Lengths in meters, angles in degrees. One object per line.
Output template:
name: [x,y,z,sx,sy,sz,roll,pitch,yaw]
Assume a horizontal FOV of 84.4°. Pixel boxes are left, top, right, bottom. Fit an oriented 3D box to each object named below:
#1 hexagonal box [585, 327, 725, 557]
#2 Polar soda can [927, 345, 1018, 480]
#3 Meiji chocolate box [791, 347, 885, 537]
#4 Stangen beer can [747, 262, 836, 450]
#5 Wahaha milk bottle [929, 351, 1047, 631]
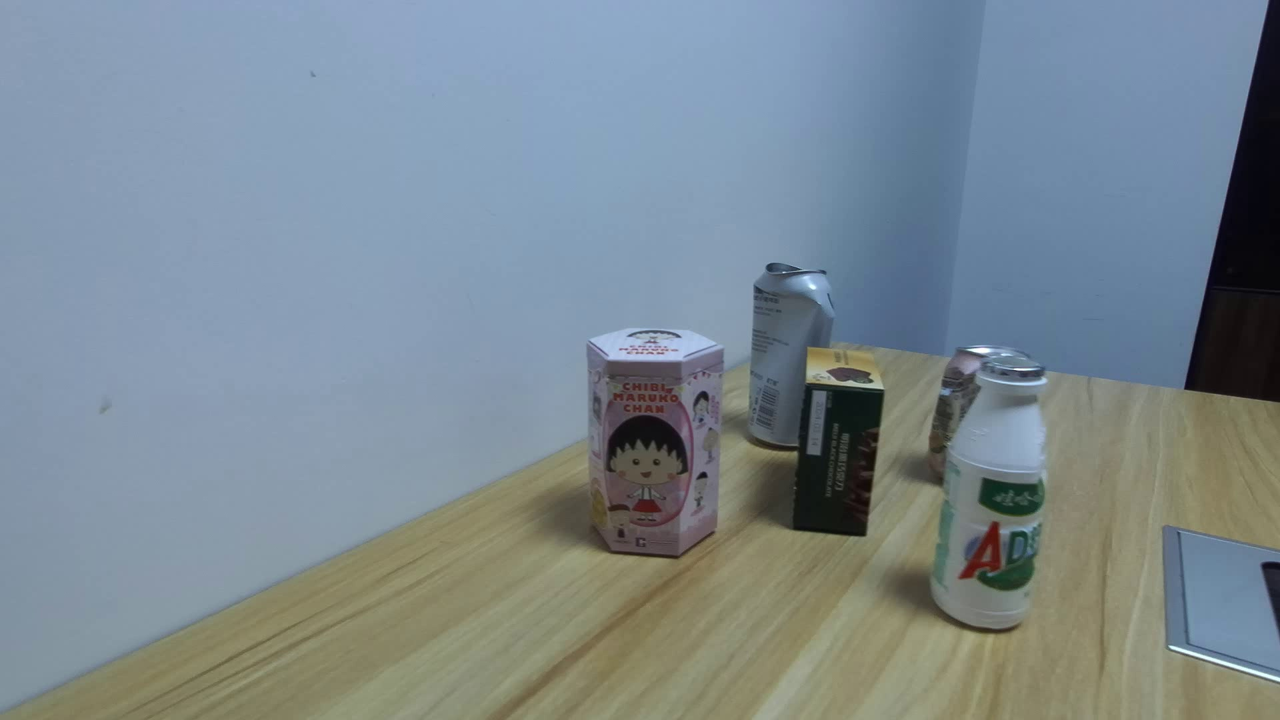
hexagonal box: [0.010,0.054,0.478,0.091,0.136,0.084,2,15,8]
Polar soda can: [0.277,0.046,0.571,0.070,0.114,0.074,12,19,24]
Meiji chocolate box: [0.144,0.056,0.525,0.056,0.109,0.110,5,16,12]
Stangen beer can: [0.136,-0.004,0.641,0.077,0.162,0.066,5,21,17]
Wahaha milk bottle: [0.197,0.079,0.392,0.053,0.136,0.053,2,13,0]
